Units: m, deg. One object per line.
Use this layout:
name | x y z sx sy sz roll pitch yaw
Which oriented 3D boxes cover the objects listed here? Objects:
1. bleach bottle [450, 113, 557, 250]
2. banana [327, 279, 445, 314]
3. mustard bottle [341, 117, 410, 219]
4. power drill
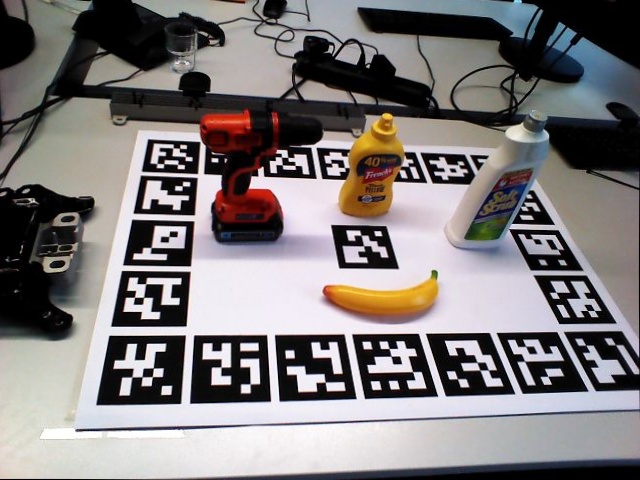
bleach bottle | 0.301 -0.092 0.838 0.103 0.252 0.067 8 46 -4
banana | 0.110 0.077 0.775 0.197 0.039 0.074 -4 49 -11
mustard bottle | 0.101 -0.122 0.874 0.096 0.192 0.058 -3 47 -16
power drill | -0.076 -0.114 0.789 0.184 0.188 0.057 -5 48 -10
